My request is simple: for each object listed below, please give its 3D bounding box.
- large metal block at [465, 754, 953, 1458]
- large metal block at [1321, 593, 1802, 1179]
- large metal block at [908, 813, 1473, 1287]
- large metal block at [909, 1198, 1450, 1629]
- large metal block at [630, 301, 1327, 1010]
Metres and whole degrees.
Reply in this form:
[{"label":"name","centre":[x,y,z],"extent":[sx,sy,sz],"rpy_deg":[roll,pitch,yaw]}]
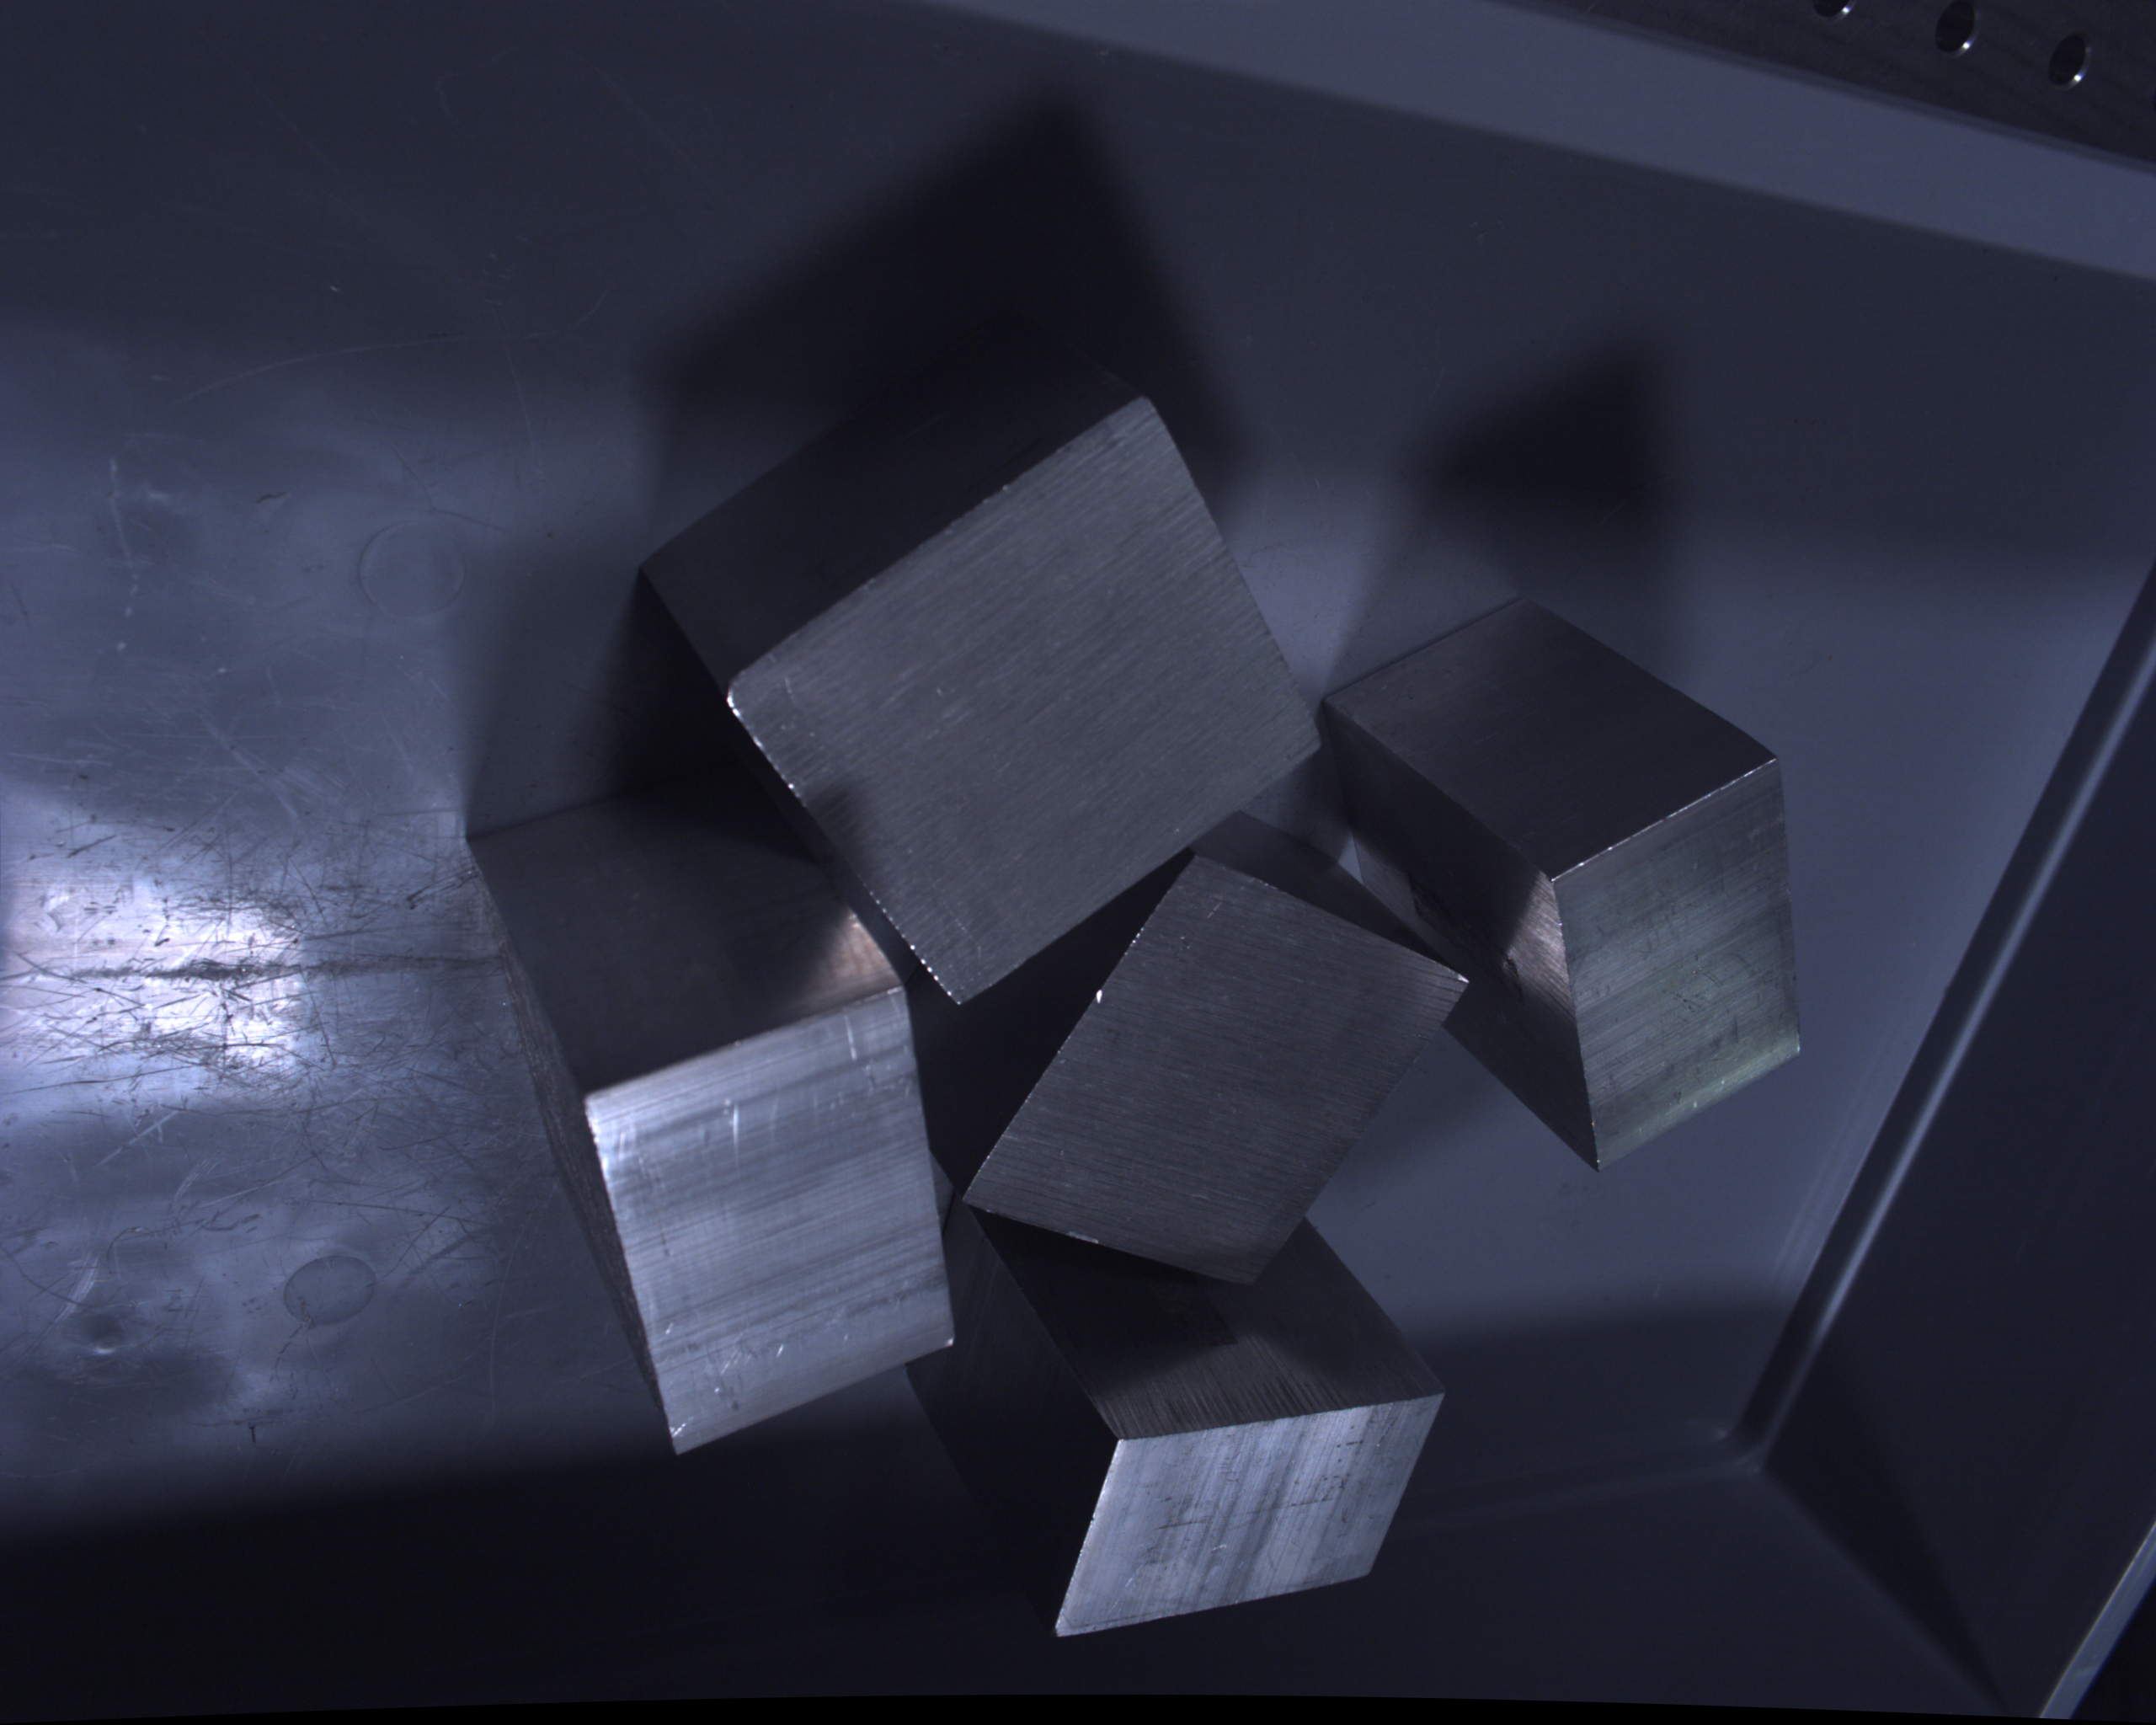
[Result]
[{"label":"large metal block","centre":[-0.064,0.039,0.362],"extent":[0.050,0.080,0.079],"rpy_deg":[-18,126,-19]},{"label":"large metal block","centre":[0.099,0.003,0.429],"extent":[0.050,0.080,0.080],"rpy_deg":[-28,128,-11]},{"label":"large metal block","centre":[0.018,0.031,0.421],"extent":[0.080,0.050,0.080],"rpy_deg":[25,105,-37]},{"label":"large metal block","centre":[0.019,0.111,0.453],"extent":[0.081,0.080,0.050],"rpy_deg":[1,118,-29]},{"label":"large metal block","centre":[-0.016,-0.035,0.361],"extent":[0.080,0.050,0.080],"rpy_deg":[-36,130,-4]}]
